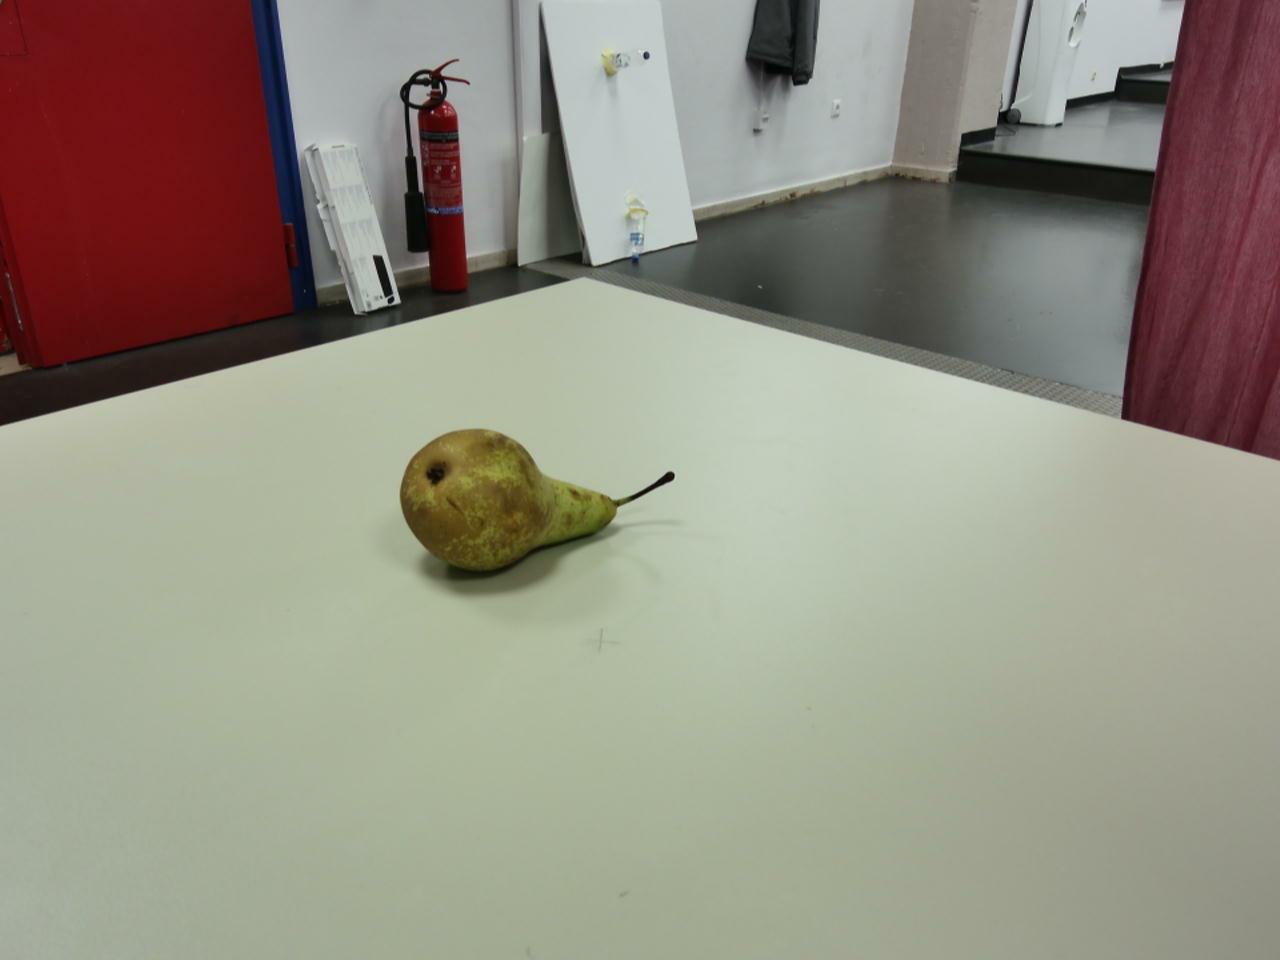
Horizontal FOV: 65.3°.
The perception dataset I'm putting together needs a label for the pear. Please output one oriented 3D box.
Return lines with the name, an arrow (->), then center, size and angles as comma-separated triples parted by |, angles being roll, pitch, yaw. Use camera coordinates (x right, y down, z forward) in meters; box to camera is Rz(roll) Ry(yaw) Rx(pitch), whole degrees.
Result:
pear -> -0.058, 0.000, 0.528 | 0.144, 0.075, 0.072 | -21, 31, -37
